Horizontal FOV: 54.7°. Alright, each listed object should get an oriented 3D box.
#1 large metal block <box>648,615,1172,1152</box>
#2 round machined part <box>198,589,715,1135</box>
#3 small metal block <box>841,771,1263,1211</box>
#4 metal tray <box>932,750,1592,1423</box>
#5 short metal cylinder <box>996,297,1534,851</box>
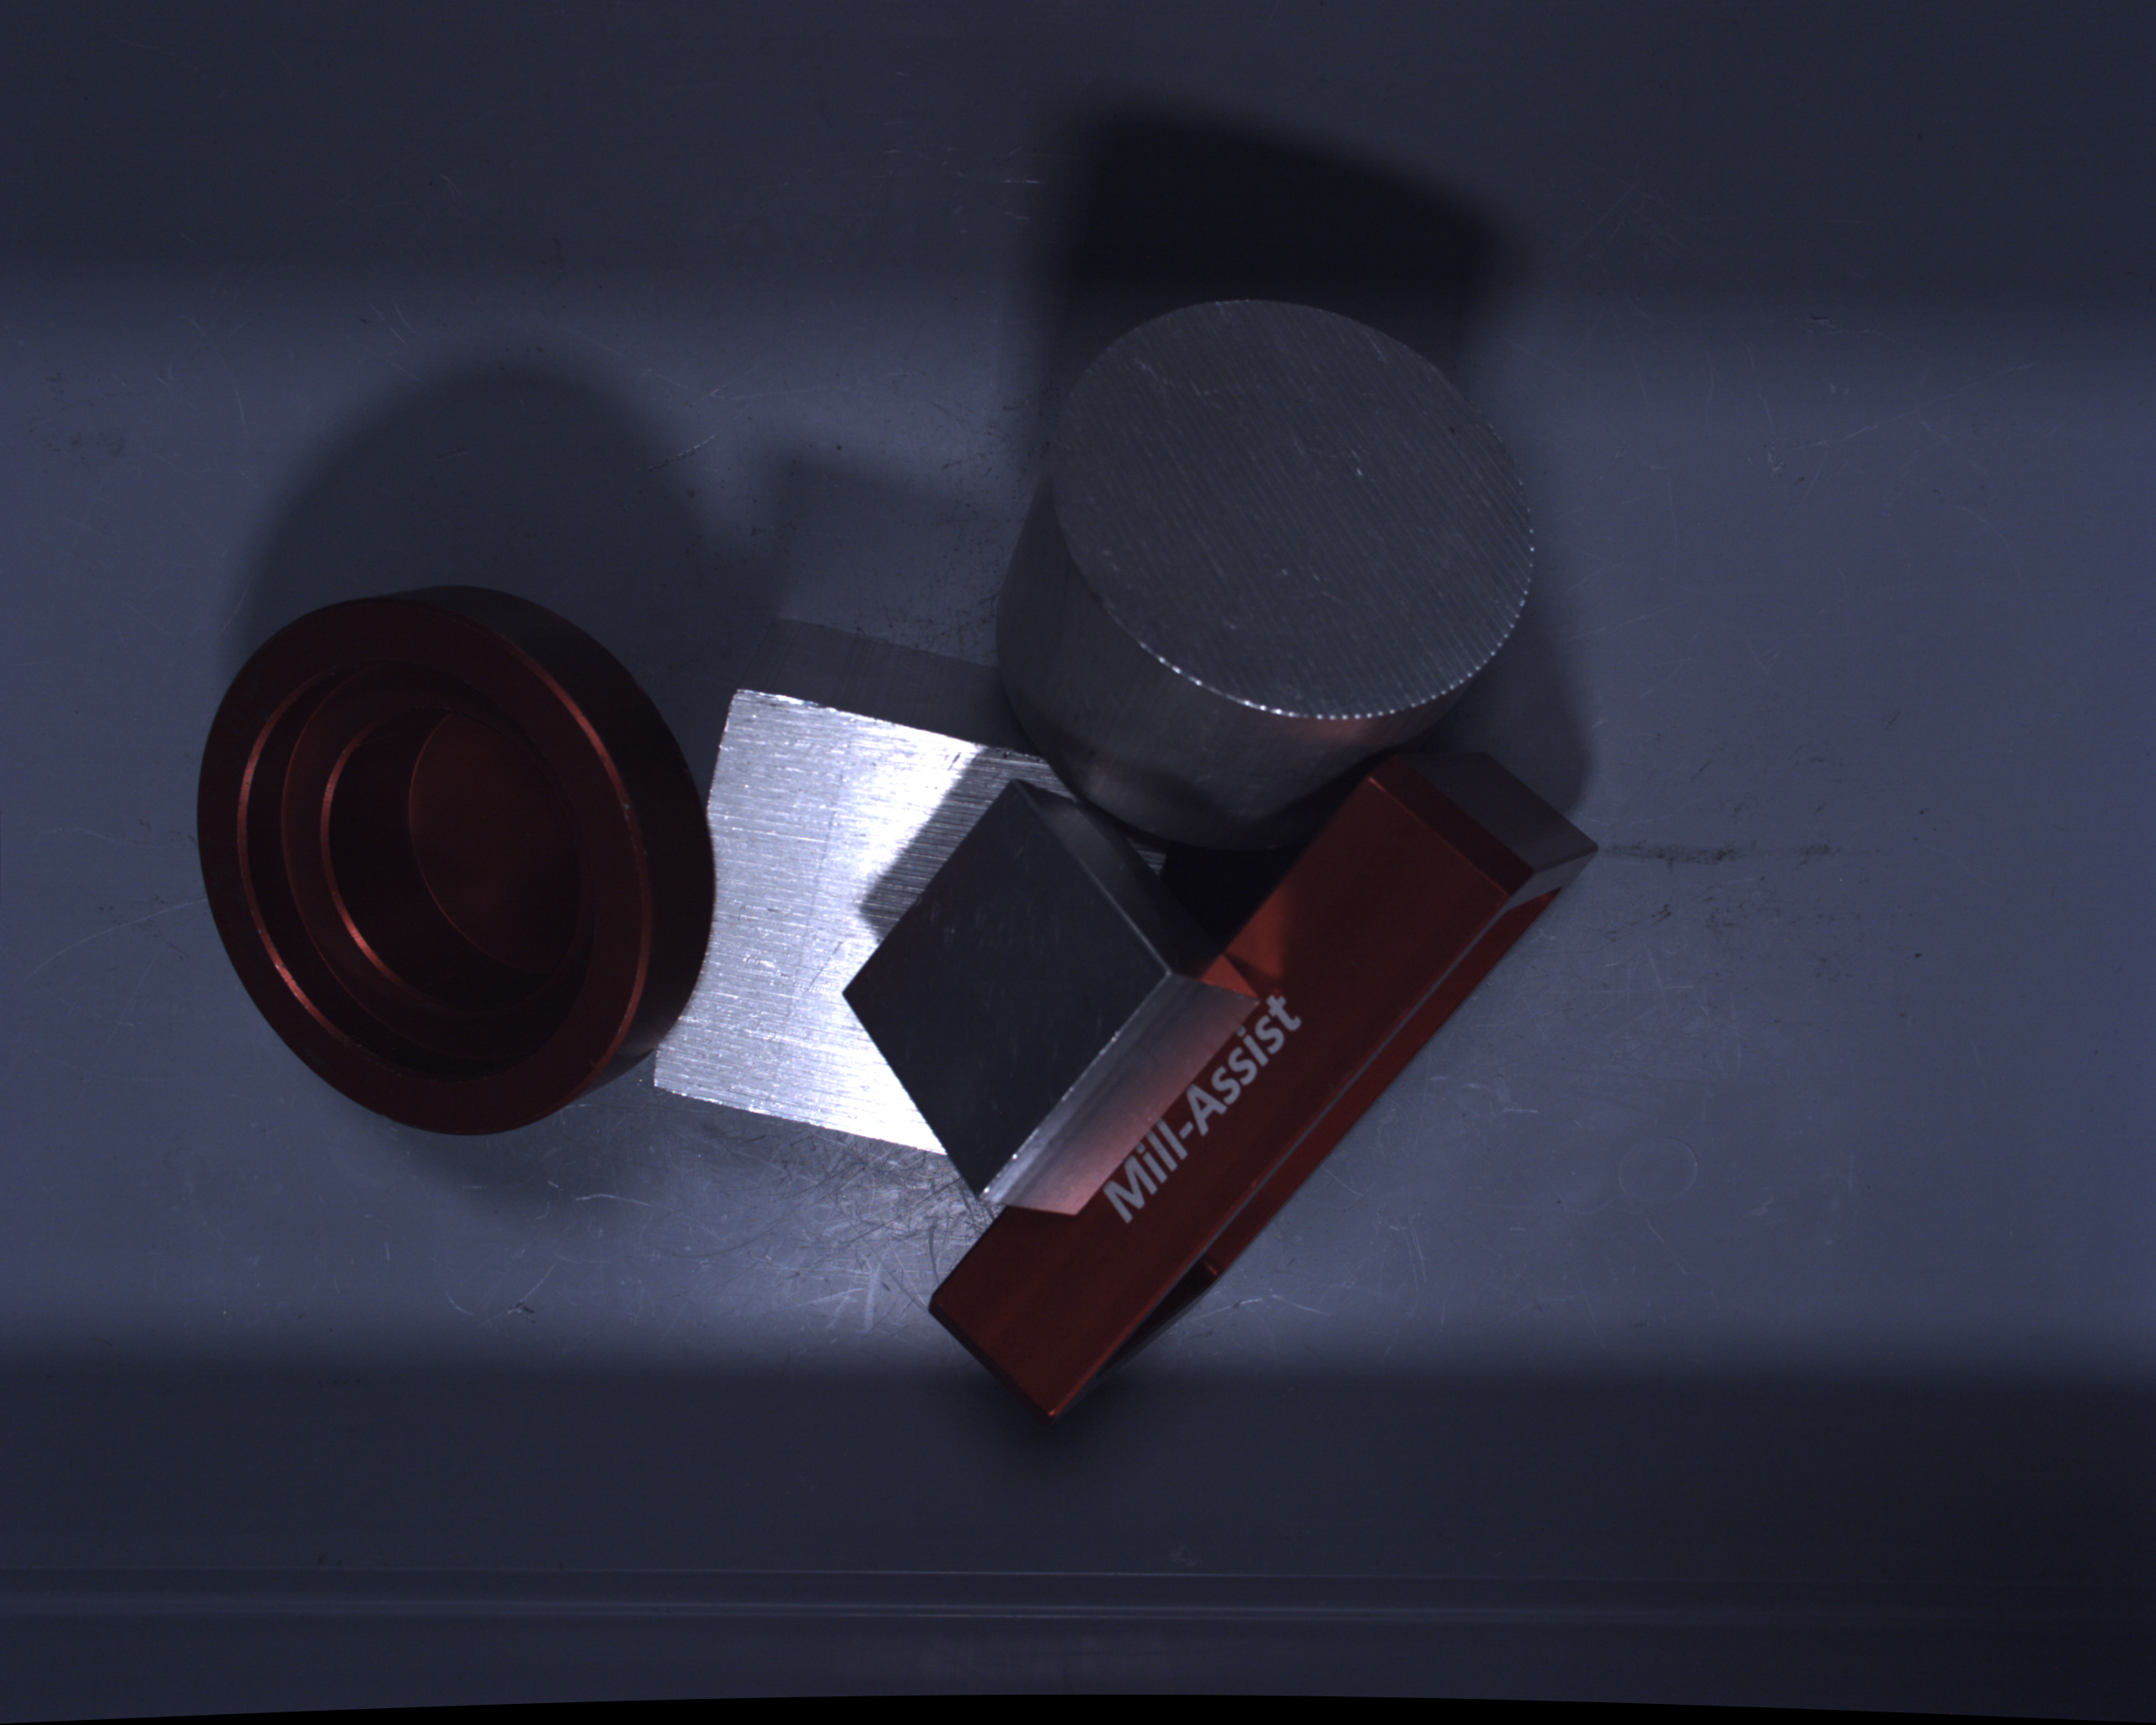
[{"bbox_3d":[-0.030,0.006,0.398,0.081,0.050,0.079,14,109,-6],"label":"large metal block"},{"bbox_3d":[-0.109,-0.003,0.386,0.098,0.042,0.097,6,106,21],"label":"round machined part"},{"bbox_3d":[-0.006,0.022,0.349,0.025,0.050,0.050,20,114,-49],"label":"small metal block"},{"bbox_3d":[0.037,0.038,0.388,0.030,0.090,0.129,42,106,14],"label":"metal tray"},{"bbox_3d":[0.030,-0.048,0.356,0.080,0.080,0.050,15,153,-6],"label":"short metal cylinder"}]
